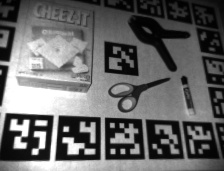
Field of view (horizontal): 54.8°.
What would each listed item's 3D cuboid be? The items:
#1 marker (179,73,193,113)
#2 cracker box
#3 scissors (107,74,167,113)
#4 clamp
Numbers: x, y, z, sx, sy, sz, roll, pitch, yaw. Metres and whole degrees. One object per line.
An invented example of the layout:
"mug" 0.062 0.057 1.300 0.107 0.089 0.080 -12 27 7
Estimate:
"marker" 0.217 0.020 0.635 0.020 0.019 0.120 2 69 -16
"cracker box" -0.140 -0.100 0.542 0.165 0.072 0.213 6 68 -15
"scissors" 0.079 0.004 0.599 0.204 0.016 0.087 -24 77 -26
"clamp" 0.124 -0.165 0.684 0.203 0.036 0.166 33 62 -4
